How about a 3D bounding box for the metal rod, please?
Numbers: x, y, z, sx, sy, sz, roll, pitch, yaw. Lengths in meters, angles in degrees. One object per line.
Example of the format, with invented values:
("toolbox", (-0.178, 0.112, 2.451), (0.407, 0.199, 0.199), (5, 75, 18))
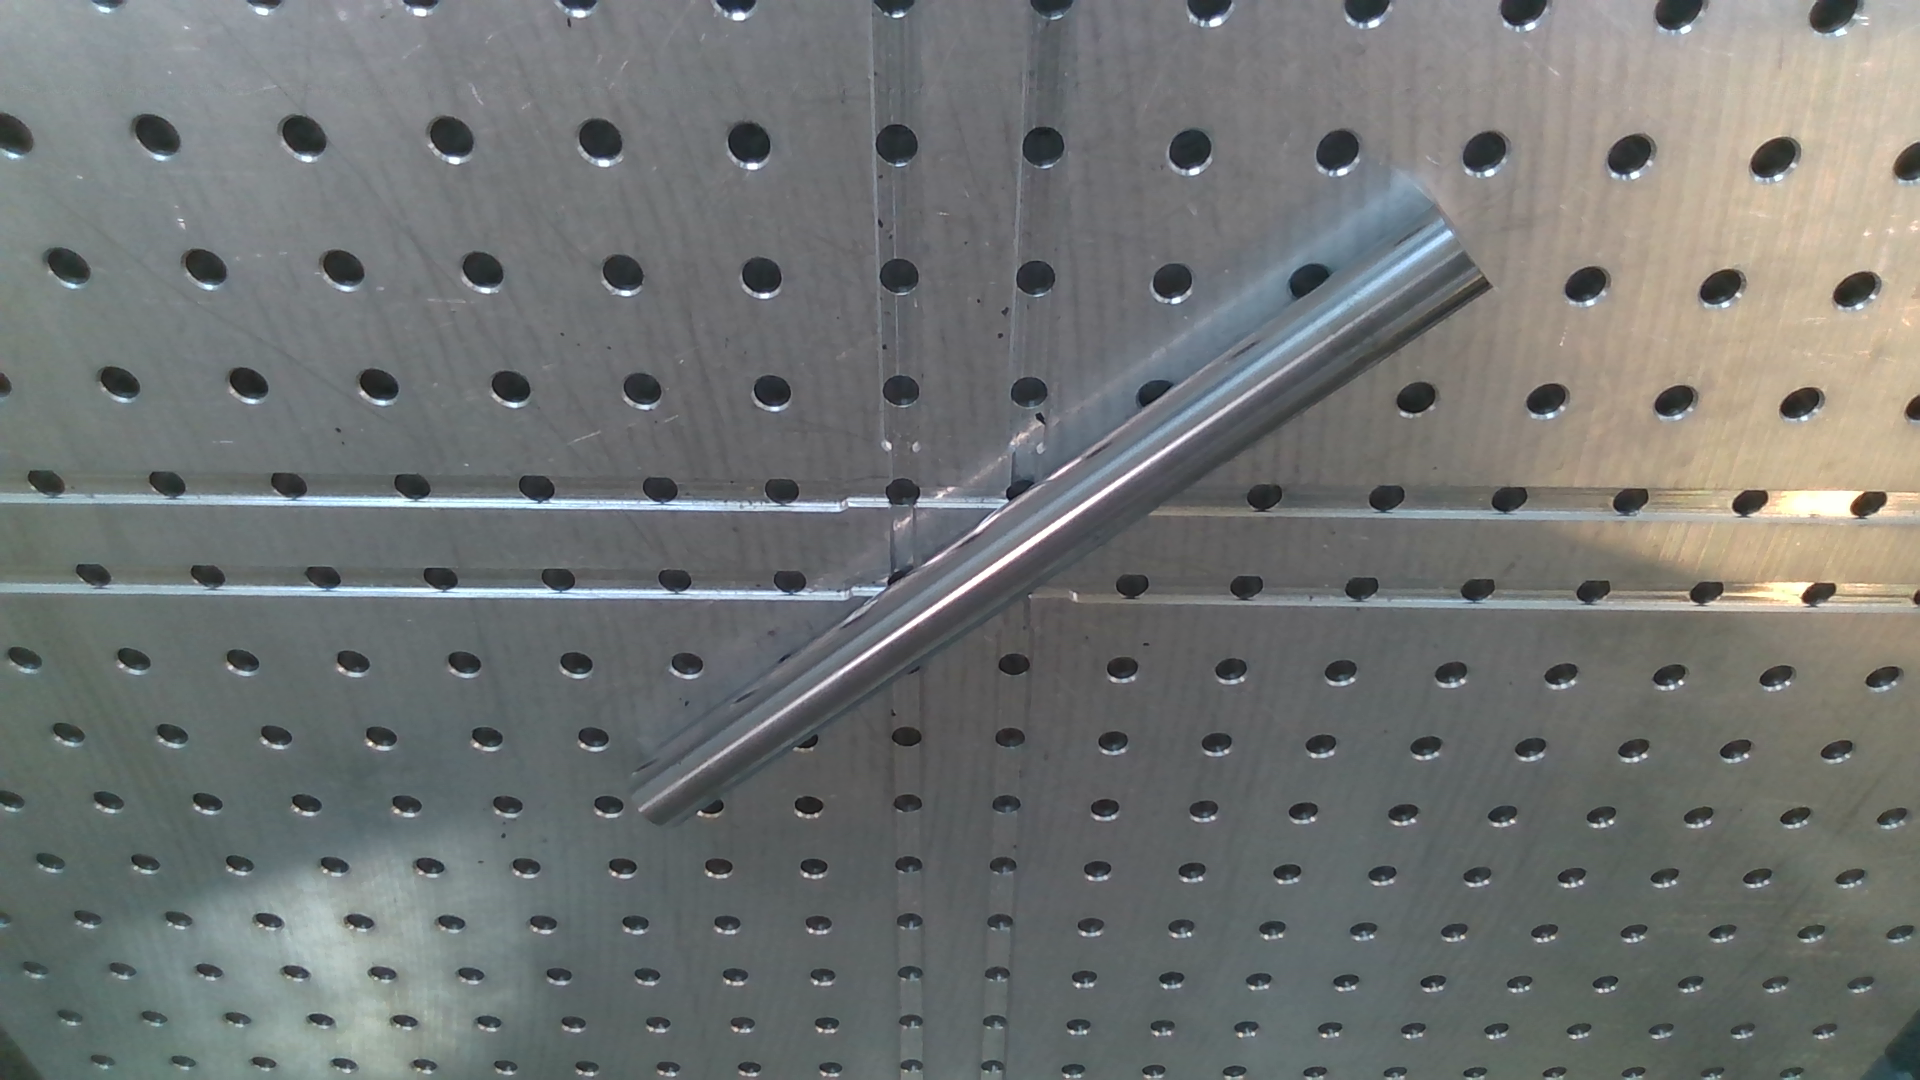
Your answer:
("metal rod", (0.010, 0.006, 0.396), (0.300, 0.025, 0.025), (-35, 122, 26))
